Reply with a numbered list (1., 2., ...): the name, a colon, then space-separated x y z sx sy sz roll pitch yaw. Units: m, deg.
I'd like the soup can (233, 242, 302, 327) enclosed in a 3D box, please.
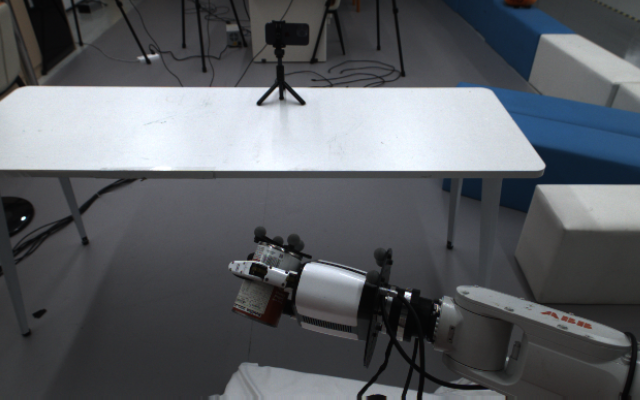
1. soup can: -0.071 0.118 0.671 0.067 0.067 0.101 16 75 19
